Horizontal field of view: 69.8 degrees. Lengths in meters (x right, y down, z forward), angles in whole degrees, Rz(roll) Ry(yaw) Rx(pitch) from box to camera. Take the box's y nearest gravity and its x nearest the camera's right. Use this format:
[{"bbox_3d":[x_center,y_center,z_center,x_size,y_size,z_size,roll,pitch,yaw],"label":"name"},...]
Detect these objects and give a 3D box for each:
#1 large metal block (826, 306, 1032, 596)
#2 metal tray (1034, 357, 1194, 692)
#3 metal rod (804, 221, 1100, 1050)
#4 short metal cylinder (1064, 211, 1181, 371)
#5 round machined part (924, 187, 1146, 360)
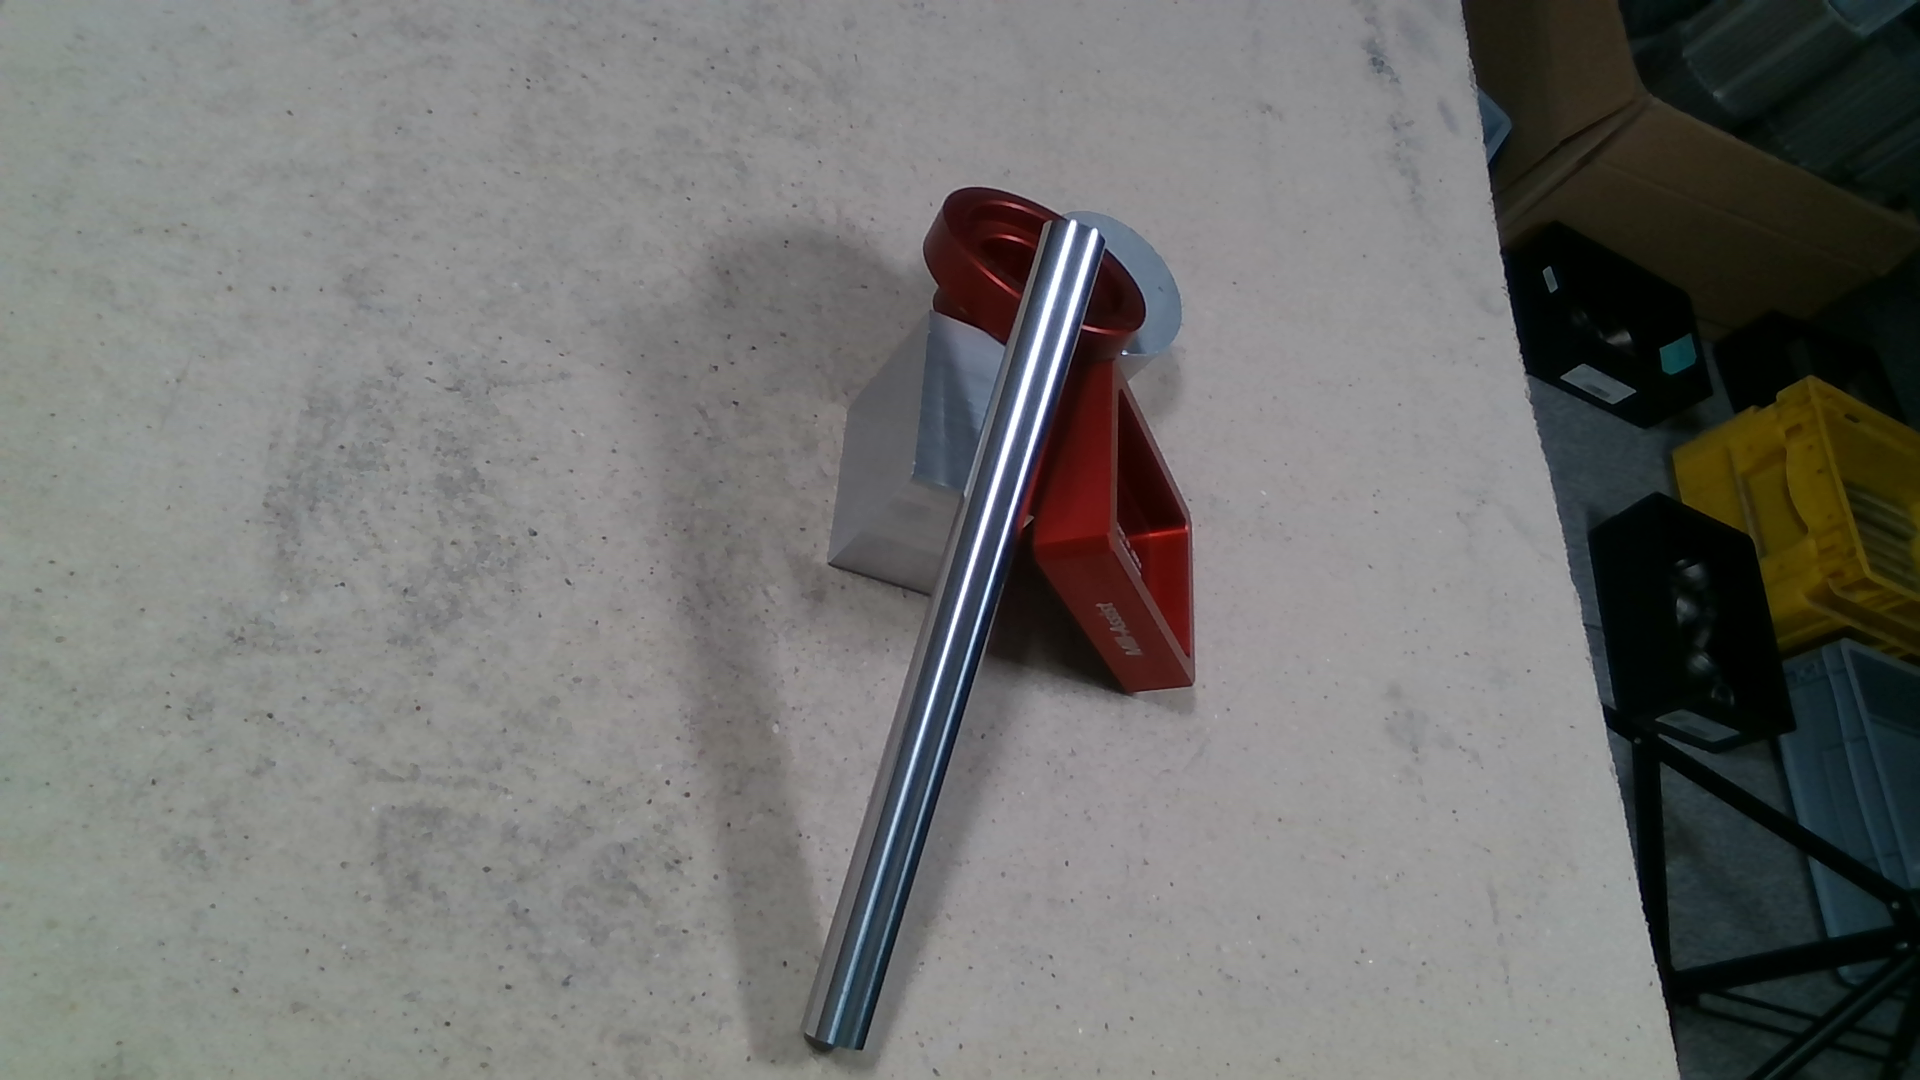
[{"bbox_3d":[-0.011,-0.033,0.561,0.050,0.080,0.080,18,57,-22],"label":"large metal block"},{"bbox_3d":[0.068,-0.003,0.577,0.130,0.030,0.090,53,35,-52],"label":"metal tray"},{"bbox_3d":[0.000,0.028,0.495,0.025,0.025,0.300,20,81,-22],"label":"metal rod"},{"bbox_3d":[0.059,-0.111,0.666,0.080,0.050,0.080,14,59,-25],"label":"short metal cylinder"},{"bbox_3d":[0.027,-0.105,0.592,0.098,0.042,0.098,22,35,-17],"label":"round machined part"}]
